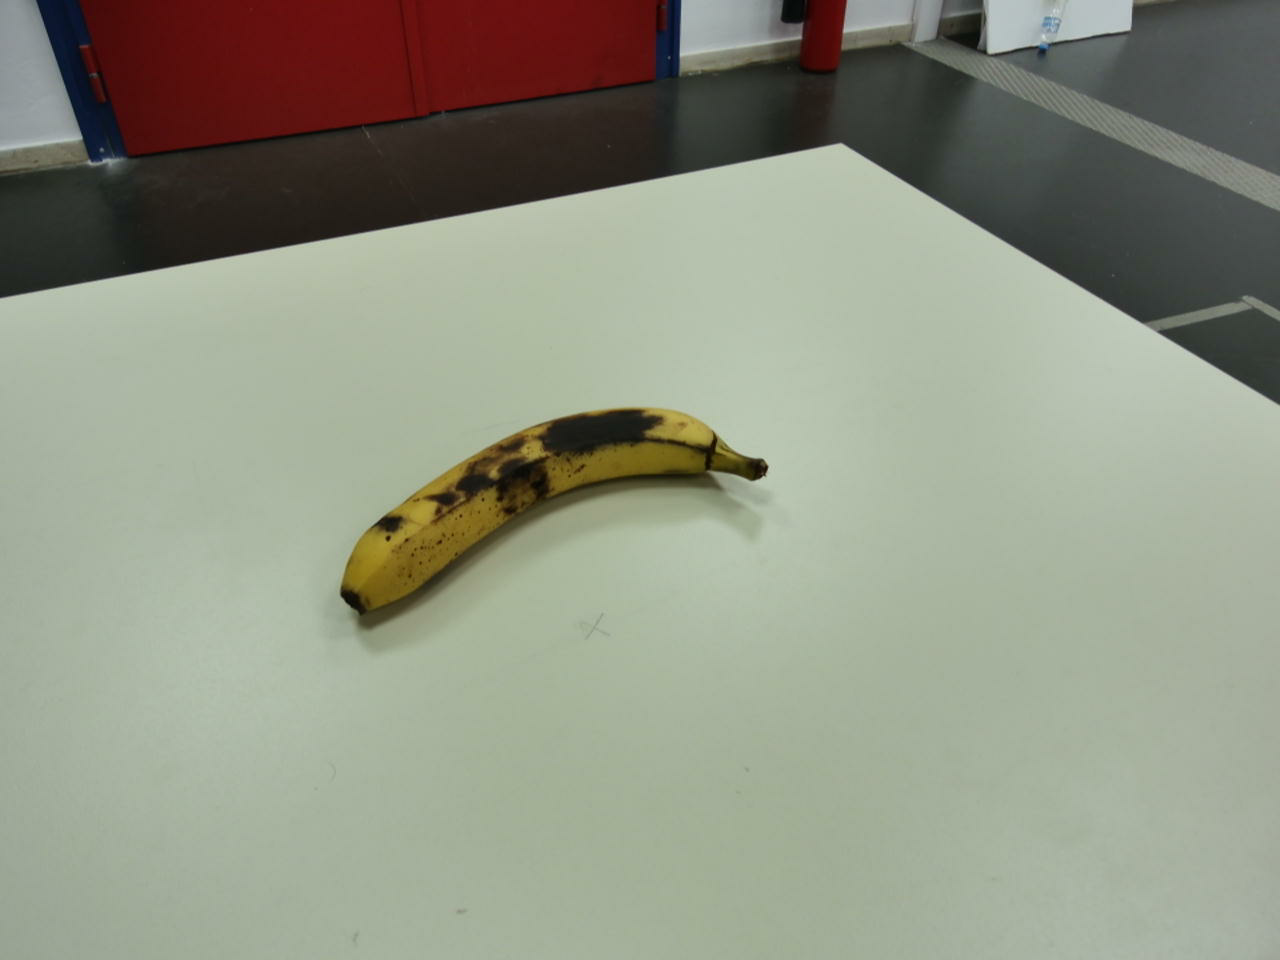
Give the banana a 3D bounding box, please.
[{"bbox_3d":[-0.049,0.003,0.510,0.222,0.037,0.084,-16,41,-20],"label":"banana"}]
